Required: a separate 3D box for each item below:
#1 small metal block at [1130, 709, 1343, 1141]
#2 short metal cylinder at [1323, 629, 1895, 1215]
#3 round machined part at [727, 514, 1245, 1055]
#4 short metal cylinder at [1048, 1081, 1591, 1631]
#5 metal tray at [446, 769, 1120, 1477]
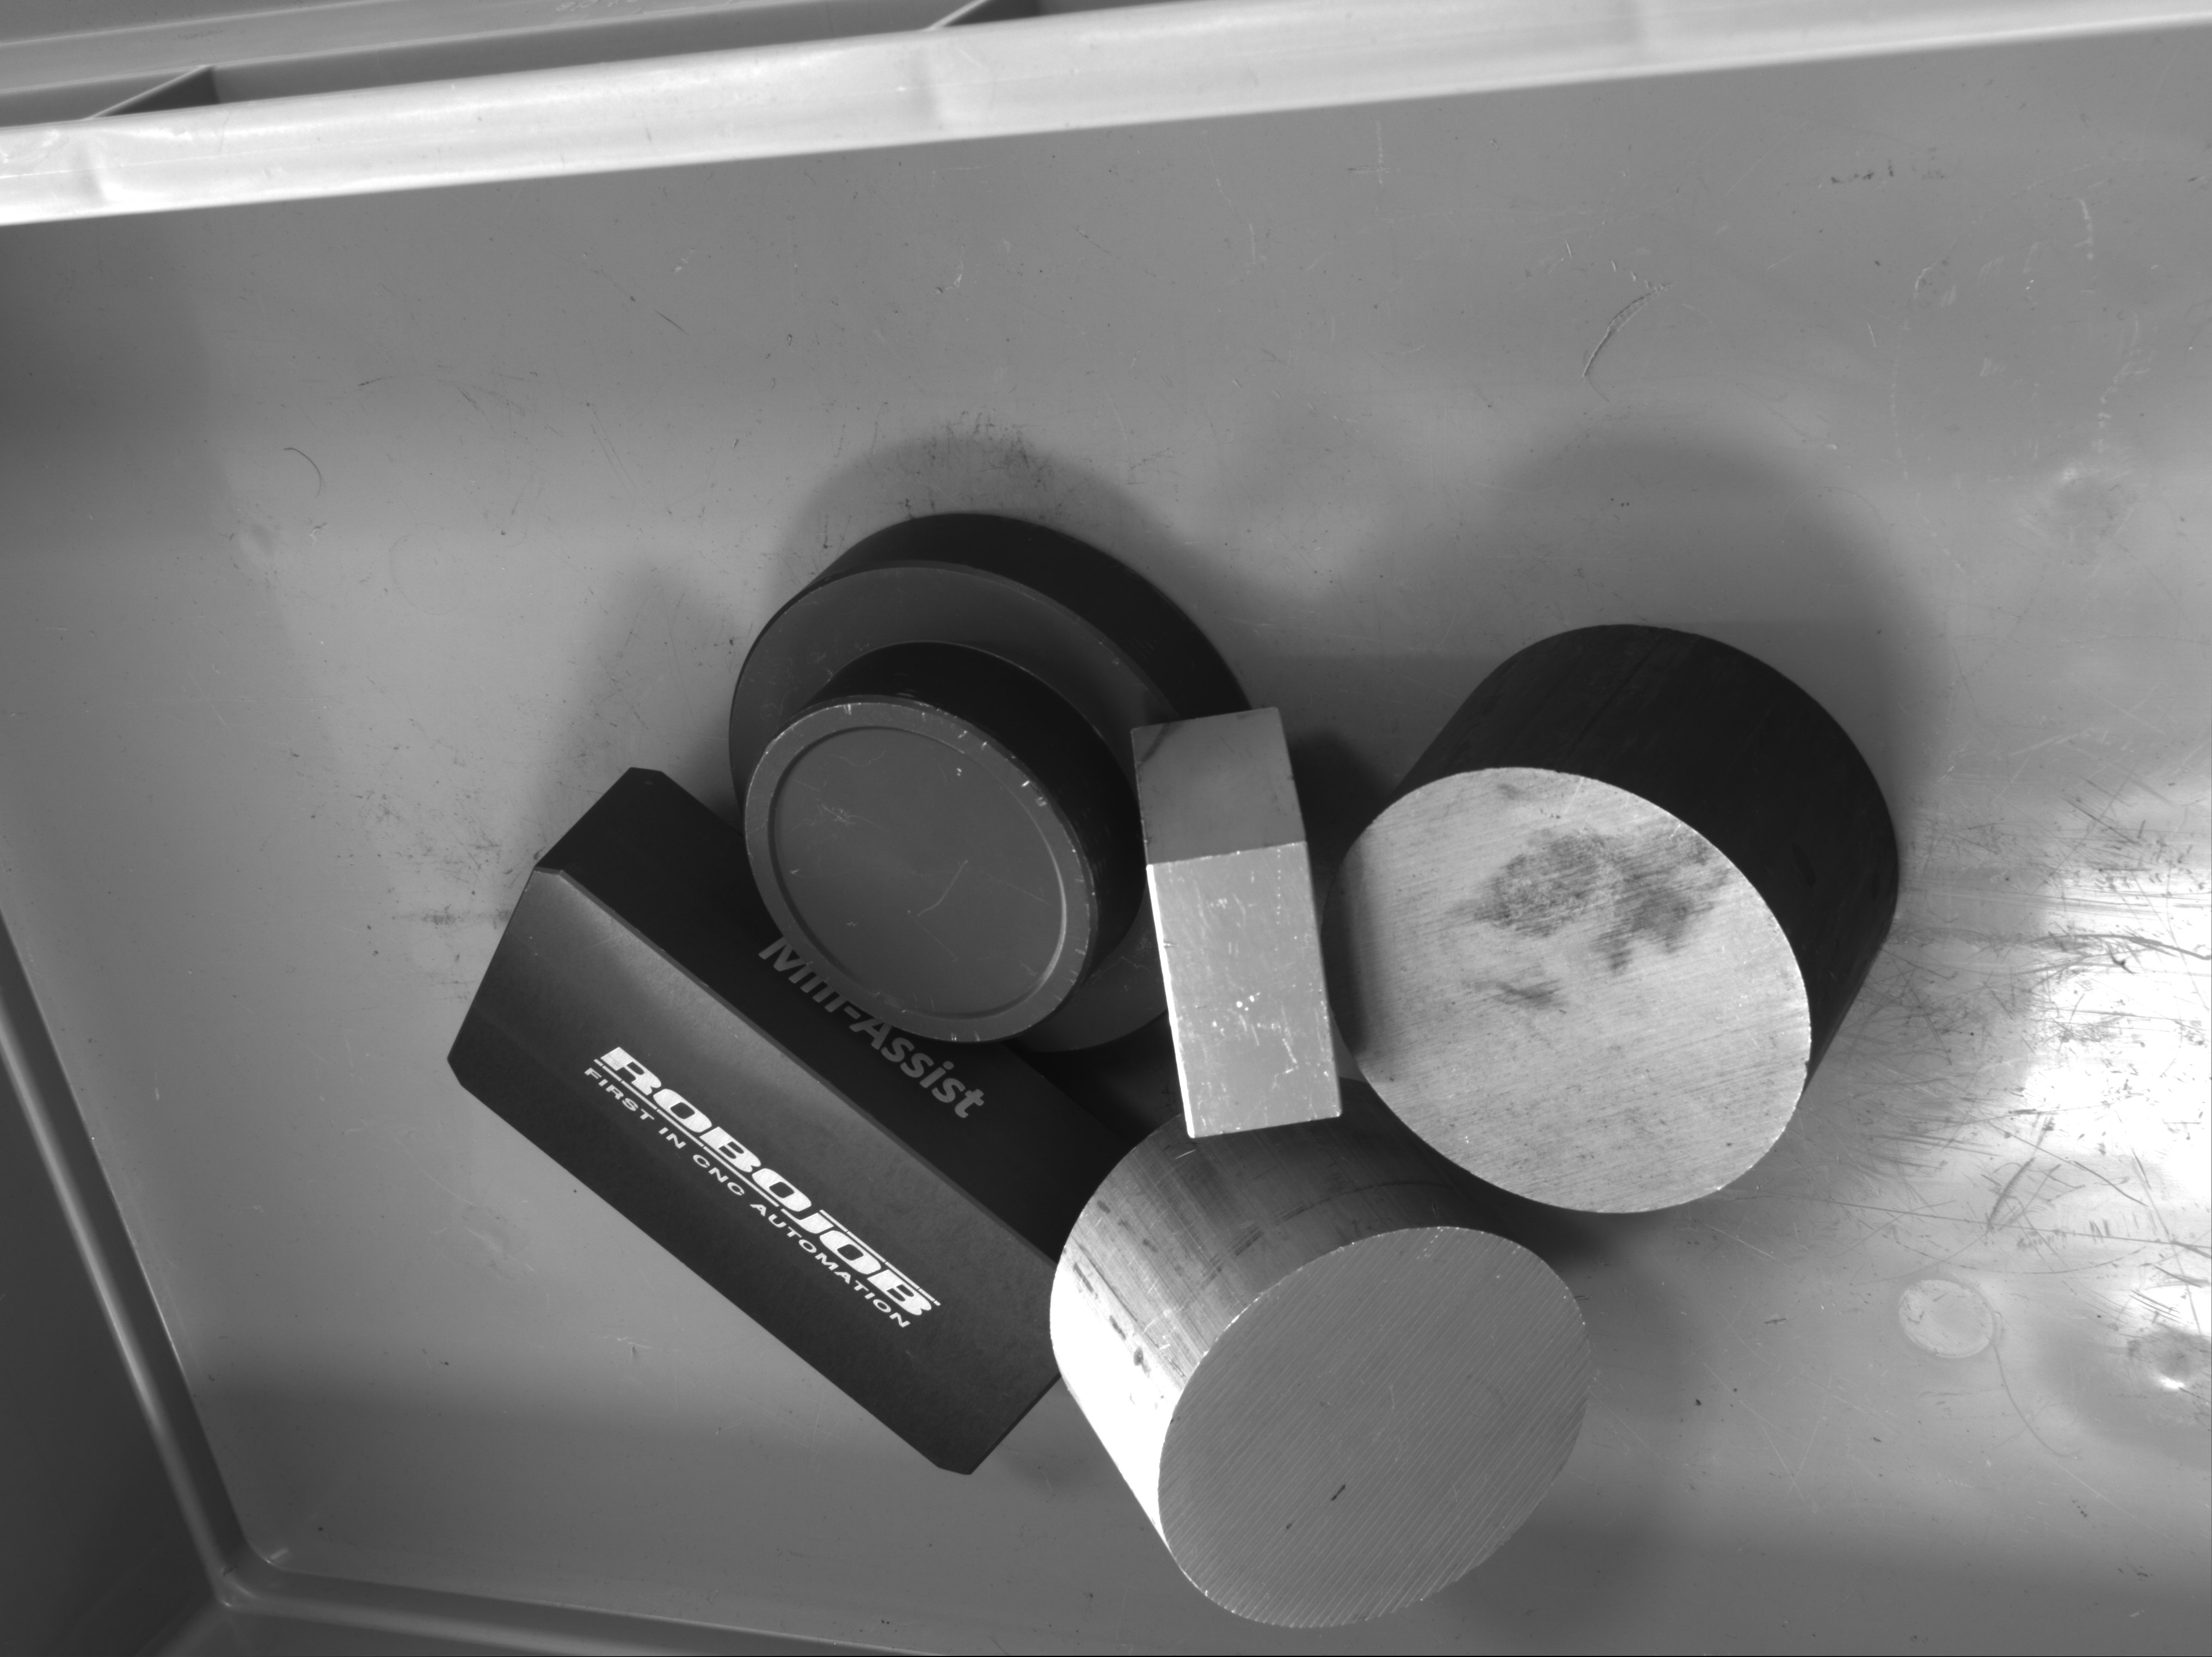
[{"bbox_3d":[0.021,0.015,0.599,0.025,0.050,0.050,-8,116,1],"label":"small metal block"},{"bbox_3d":[0.081,0.015,0.591,0.080,0.050,0.080,13,124,21],"label":"short metal cylinder"},{"bbox_3d":[-0.024,-0.002,0.641,0.098,0.042,0.098,13,124,21],"label":"round machined part"},{"bbox_3d":[0.036,0.090,0.633,0.050,0.080,0.080,-131,31,-55],"label":"short metal cylinder"},{"bbox_3d":[-0.057,0.057,0.689,0.130,0.030,0.090,39,144,2],"label":"metal tray"}]
